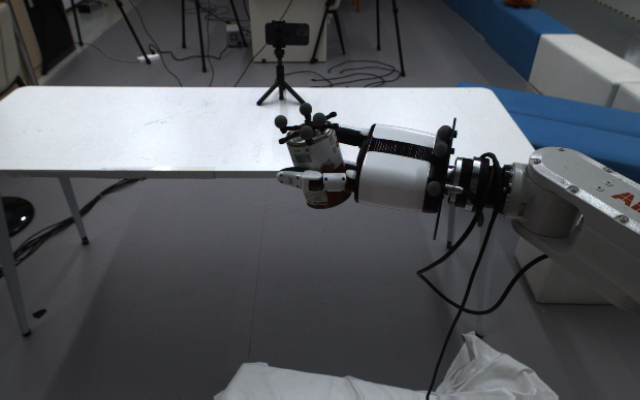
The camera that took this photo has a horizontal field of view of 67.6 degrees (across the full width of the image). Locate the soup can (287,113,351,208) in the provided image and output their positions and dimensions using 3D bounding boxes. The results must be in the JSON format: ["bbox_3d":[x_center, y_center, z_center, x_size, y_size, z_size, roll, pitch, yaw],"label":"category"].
[{"bbox_3d":[0.000,-0.048,0.655,0.067,0.101,0.067,-14,31,8],"label":"soup can"}]
